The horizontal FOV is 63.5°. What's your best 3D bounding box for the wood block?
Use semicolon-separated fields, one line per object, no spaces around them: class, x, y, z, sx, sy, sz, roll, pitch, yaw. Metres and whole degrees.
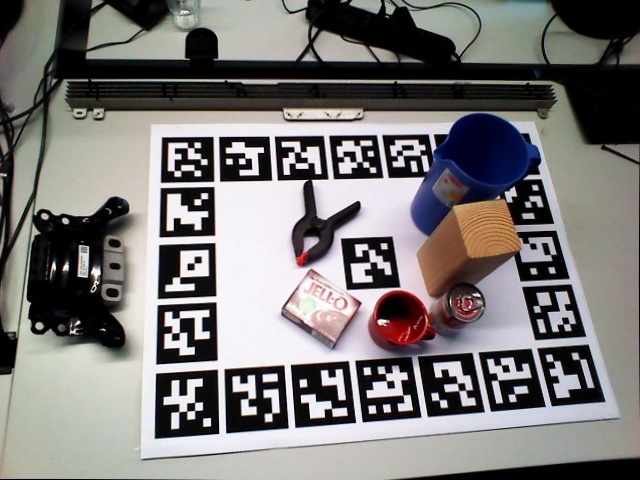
wood block;0.275;0.032;0.864;0.090;0.207;0.090;-3;67;-12

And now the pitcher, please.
pitcher;0.293;-0.086;0.899;0.189;0.243;0.132;-3;65;-5

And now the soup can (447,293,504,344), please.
soup can;0.258;0.135;0.877;0.068;0.102;0.067;2;69;-6

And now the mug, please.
mug;0.165;0.160;0.869;0.117;0.082;0.092;32;65;8

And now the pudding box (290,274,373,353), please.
pudding box;0.019;0.128;0.893;0.114;0.039;0.089;33;71;9

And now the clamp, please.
clamp;0.029;-0.019;0.961;0.122;0.037;0.164;28;68;-2
